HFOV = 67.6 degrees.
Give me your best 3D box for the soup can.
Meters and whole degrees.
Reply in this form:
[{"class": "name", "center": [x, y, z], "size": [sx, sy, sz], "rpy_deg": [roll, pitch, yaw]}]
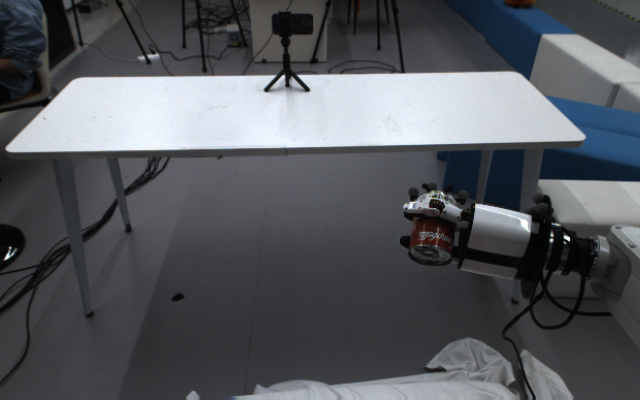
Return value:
[{"class": "soup can", "center": [0.180, 0.043, 0.763], "size": [0.067, 0.067, 0.101], "rpy_deg": [9, 58, 10]}]
